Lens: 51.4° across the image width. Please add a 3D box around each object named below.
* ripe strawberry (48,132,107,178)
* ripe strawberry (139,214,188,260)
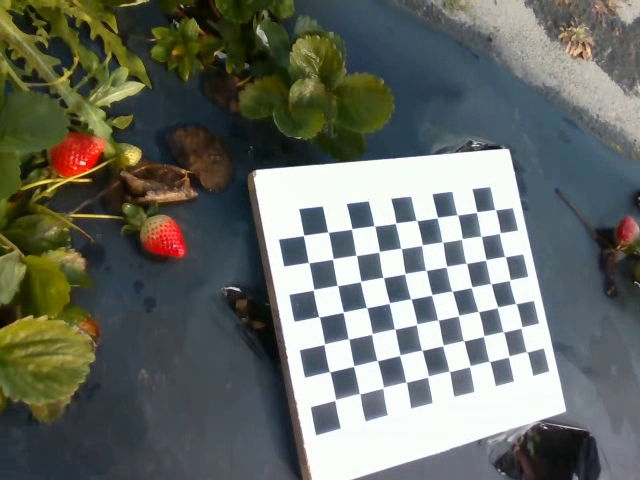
[{"bbox_3d":[-0.181,-0.067,0.486,0.048,0.040,0.031,-22,2,15],"label":"ripe strawberry"},{"bbox_3d":[-0.122,-0.001,0.507,0.035,0.043,0.029,-49,9,-24],"label":"ripe strawberry"}]
